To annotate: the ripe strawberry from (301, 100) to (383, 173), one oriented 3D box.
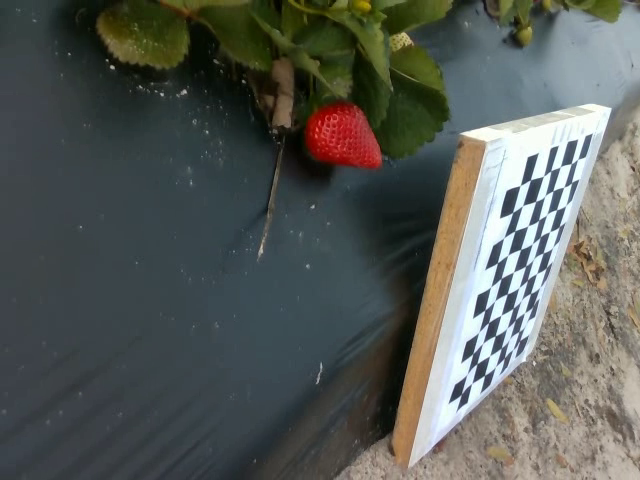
[{"bbox_3d":[0.014,-0.049,0.277,0.046,0.037,0.036,40,-10,-3],"label":"ripe strawberry"}]
